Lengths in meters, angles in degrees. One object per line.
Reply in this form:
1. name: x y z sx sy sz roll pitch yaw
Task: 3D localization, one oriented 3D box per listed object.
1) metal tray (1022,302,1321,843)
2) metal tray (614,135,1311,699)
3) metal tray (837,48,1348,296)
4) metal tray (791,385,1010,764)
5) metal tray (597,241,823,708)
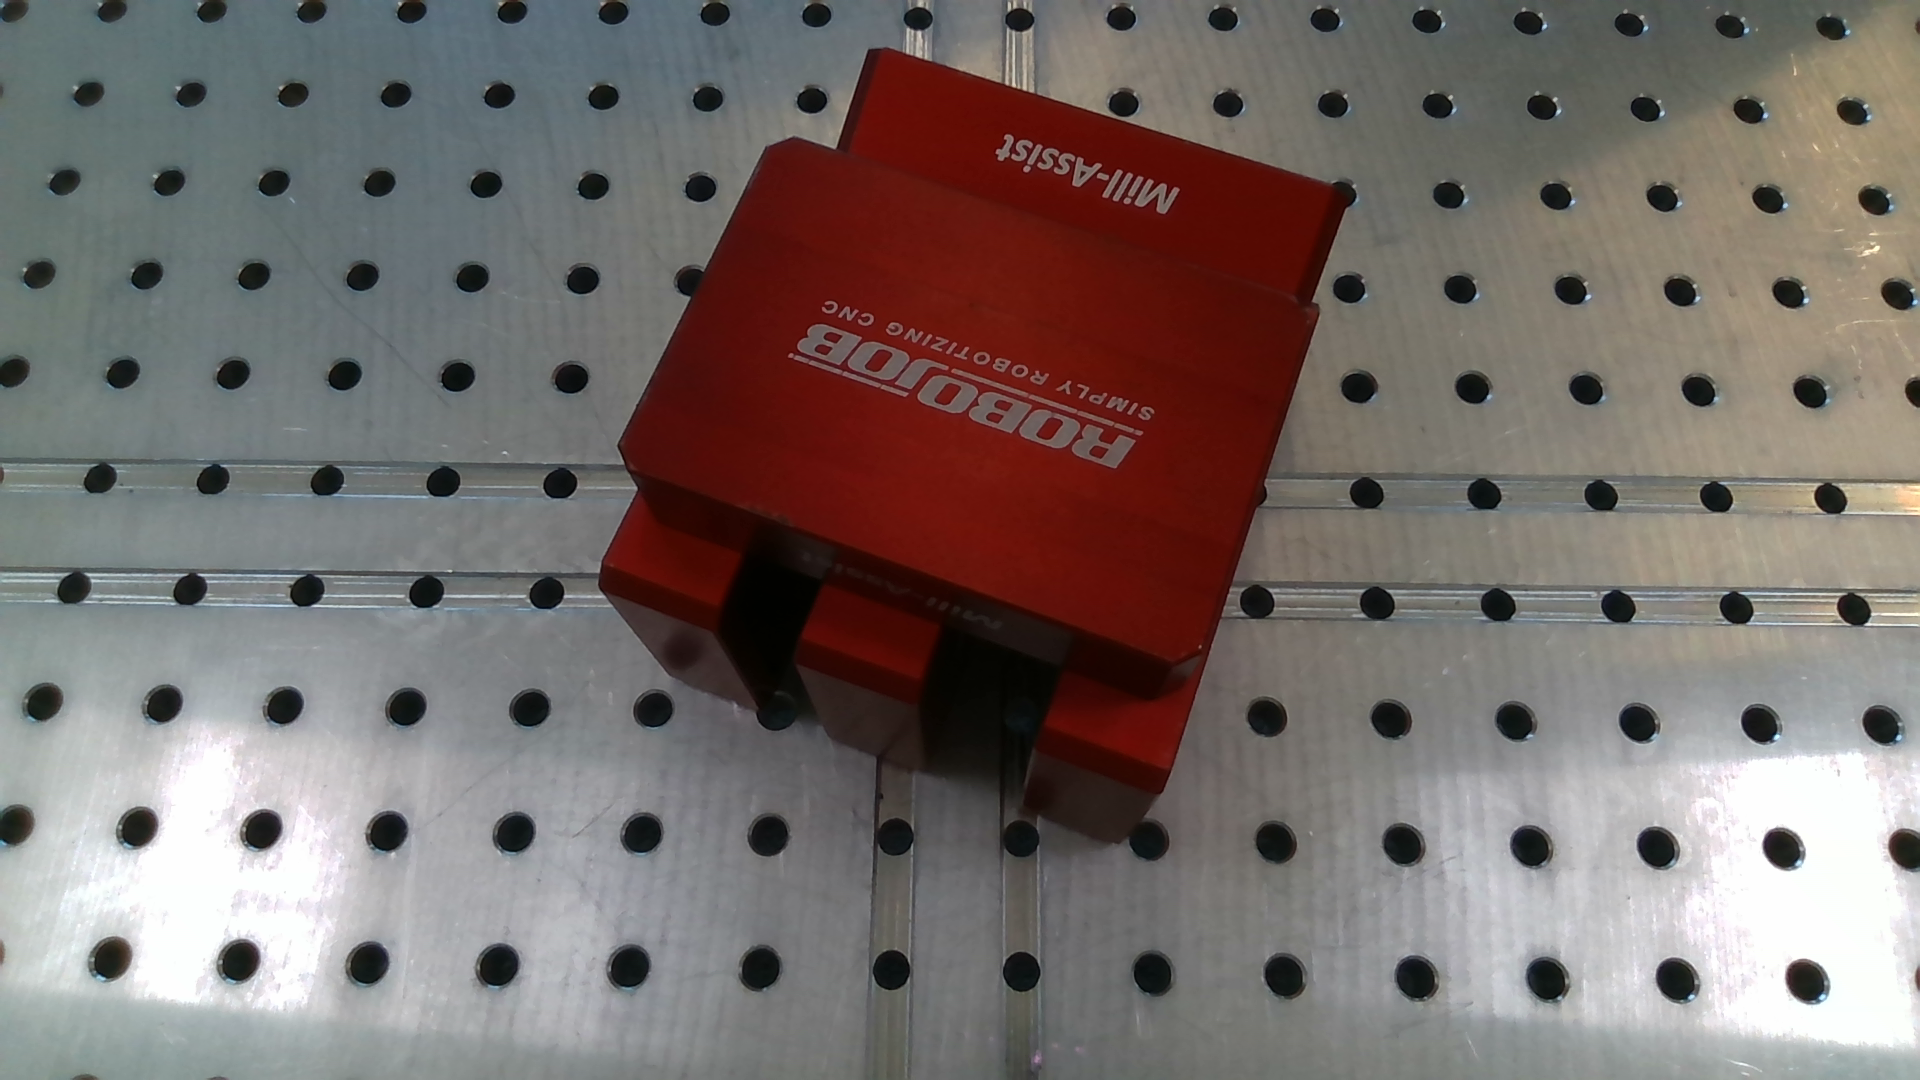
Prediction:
1. metal tray: 0.053 0.008 0.359 0.030 0.090 0.130 19 71 7
2. metal tray: 0.002 -0.029 0.309 0.130 0.030 0.090 19 71 7
3. metal tray: 0.037 -0.094 0.394 0.130 0.090 0.030 19 93 7
4. metal tray: -0.003 -0.012 0.366 0.030 0.090 0.130 19 73 6
5. metal tray: -0.047 -0.027 0.373 0.030 0.090 0.130 20 72 7
